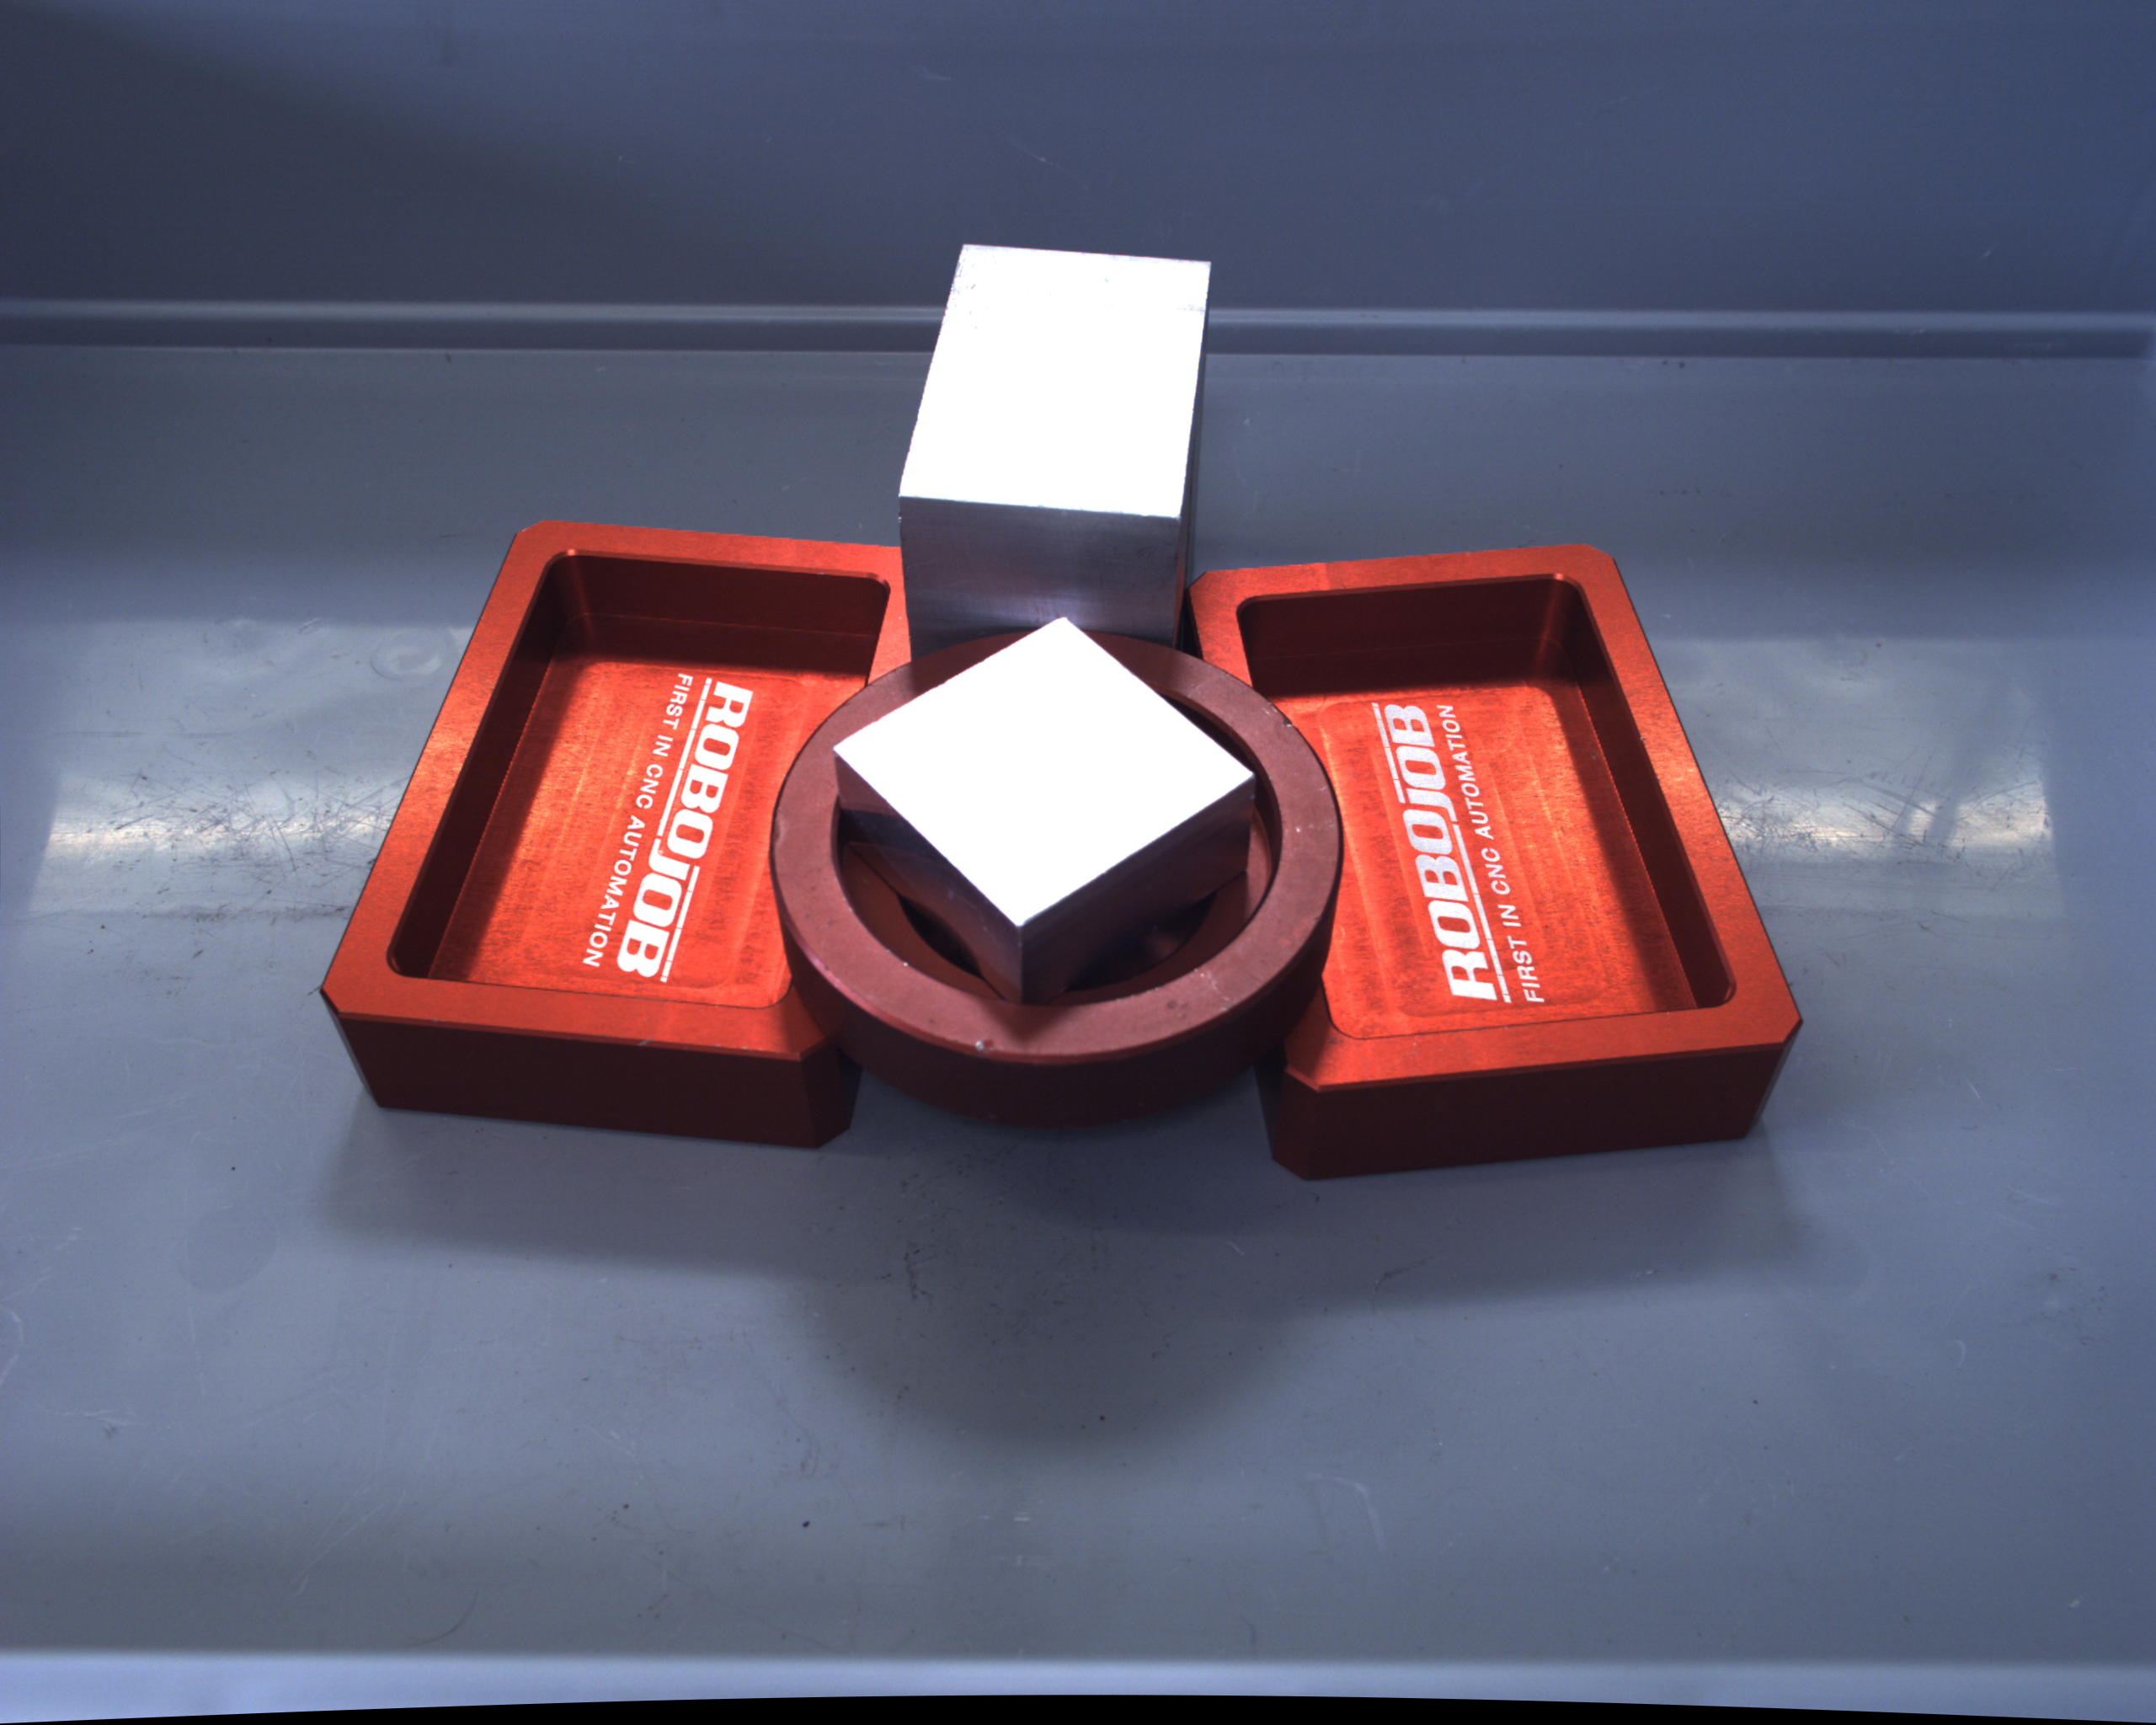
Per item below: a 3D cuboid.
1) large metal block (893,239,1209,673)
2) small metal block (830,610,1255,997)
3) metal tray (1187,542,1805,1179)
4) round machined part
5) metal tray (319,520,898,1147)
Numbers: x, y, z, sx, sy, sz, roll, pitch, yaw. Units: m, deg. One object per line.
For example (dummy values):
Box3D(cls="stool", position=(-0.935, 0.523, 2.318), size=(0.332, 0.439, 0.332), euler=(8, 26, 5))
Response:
Box3D(cls="large metal block", position=(-0.003, -0.068, 0.424), size=(0.050, 0.080, 0.080), euler=(5, 50, 4))
Box3D(cls="small metal block", position=(-0.006, -0.010, 0.356), size=(0.050, 0.025, 0.050), euler=(-32, 57, -24))
Box3D(cls="metal tray", position=(0.073, -0.005, 0.404), size=(0.091, 0.030, 0.130), euler=(-5, 50, -4))
Box3D(cls="round machined part", position=(-0.003, 0.006, 0.374), size=(0.099, 0.042, 0.098), euler=(0, 50, 0))
Box3D(cls="metal tray", position=(-0.080, -0.011, 0.407), size=(0.091, 0.030, 0.130), euler=(5, 50, 4))
